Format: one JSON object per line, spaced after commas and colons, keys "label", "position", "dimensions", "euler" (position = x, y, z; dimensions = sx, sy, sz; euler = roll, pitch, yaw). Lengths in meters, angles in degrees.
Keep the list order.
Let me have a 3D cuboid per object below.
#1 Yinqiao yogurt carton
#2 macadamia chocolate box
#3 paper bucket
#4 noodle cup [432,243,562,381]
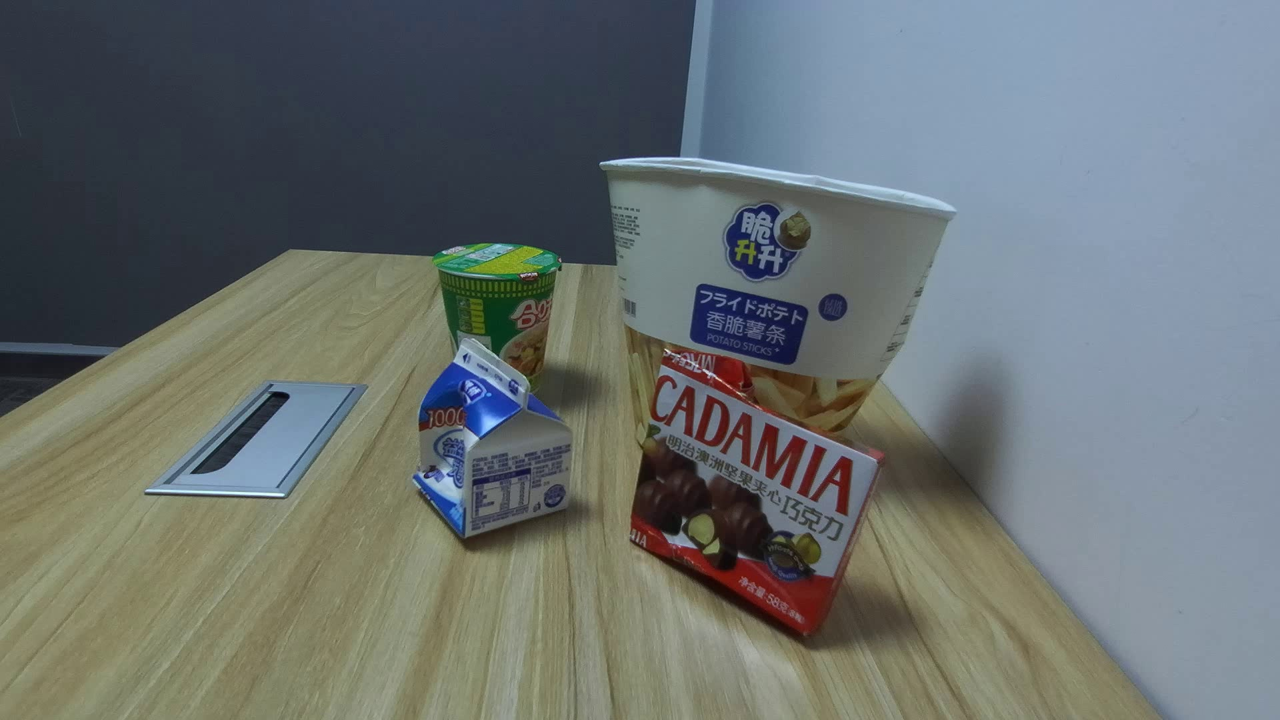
{"label": "Yinqiao yogurt carton", "position": [-0.088, 0.043, 0.425], "dimensions": [0.071, 0.094, 0.077], "euler": [-7, 25, -41]}
{"label": "macadamia chocolate box", "position": [0.057, 0.064, 0.371], "dimensions": [0.126, 0.112, 0.056], "euler": [23, 28, 38]}
{"label": "paper bucket", "position": [0.072, -0.035, 0.493], "dimensions": [0.218, 0.199, 0.147], "euler": [4, 23, 0]}
{"label": "noodle cup", "position": [-0.114, -0.028, 0.567], "dimensions": [0.097, 0.110, 0.097], "euler": [4, 22, -1]}
